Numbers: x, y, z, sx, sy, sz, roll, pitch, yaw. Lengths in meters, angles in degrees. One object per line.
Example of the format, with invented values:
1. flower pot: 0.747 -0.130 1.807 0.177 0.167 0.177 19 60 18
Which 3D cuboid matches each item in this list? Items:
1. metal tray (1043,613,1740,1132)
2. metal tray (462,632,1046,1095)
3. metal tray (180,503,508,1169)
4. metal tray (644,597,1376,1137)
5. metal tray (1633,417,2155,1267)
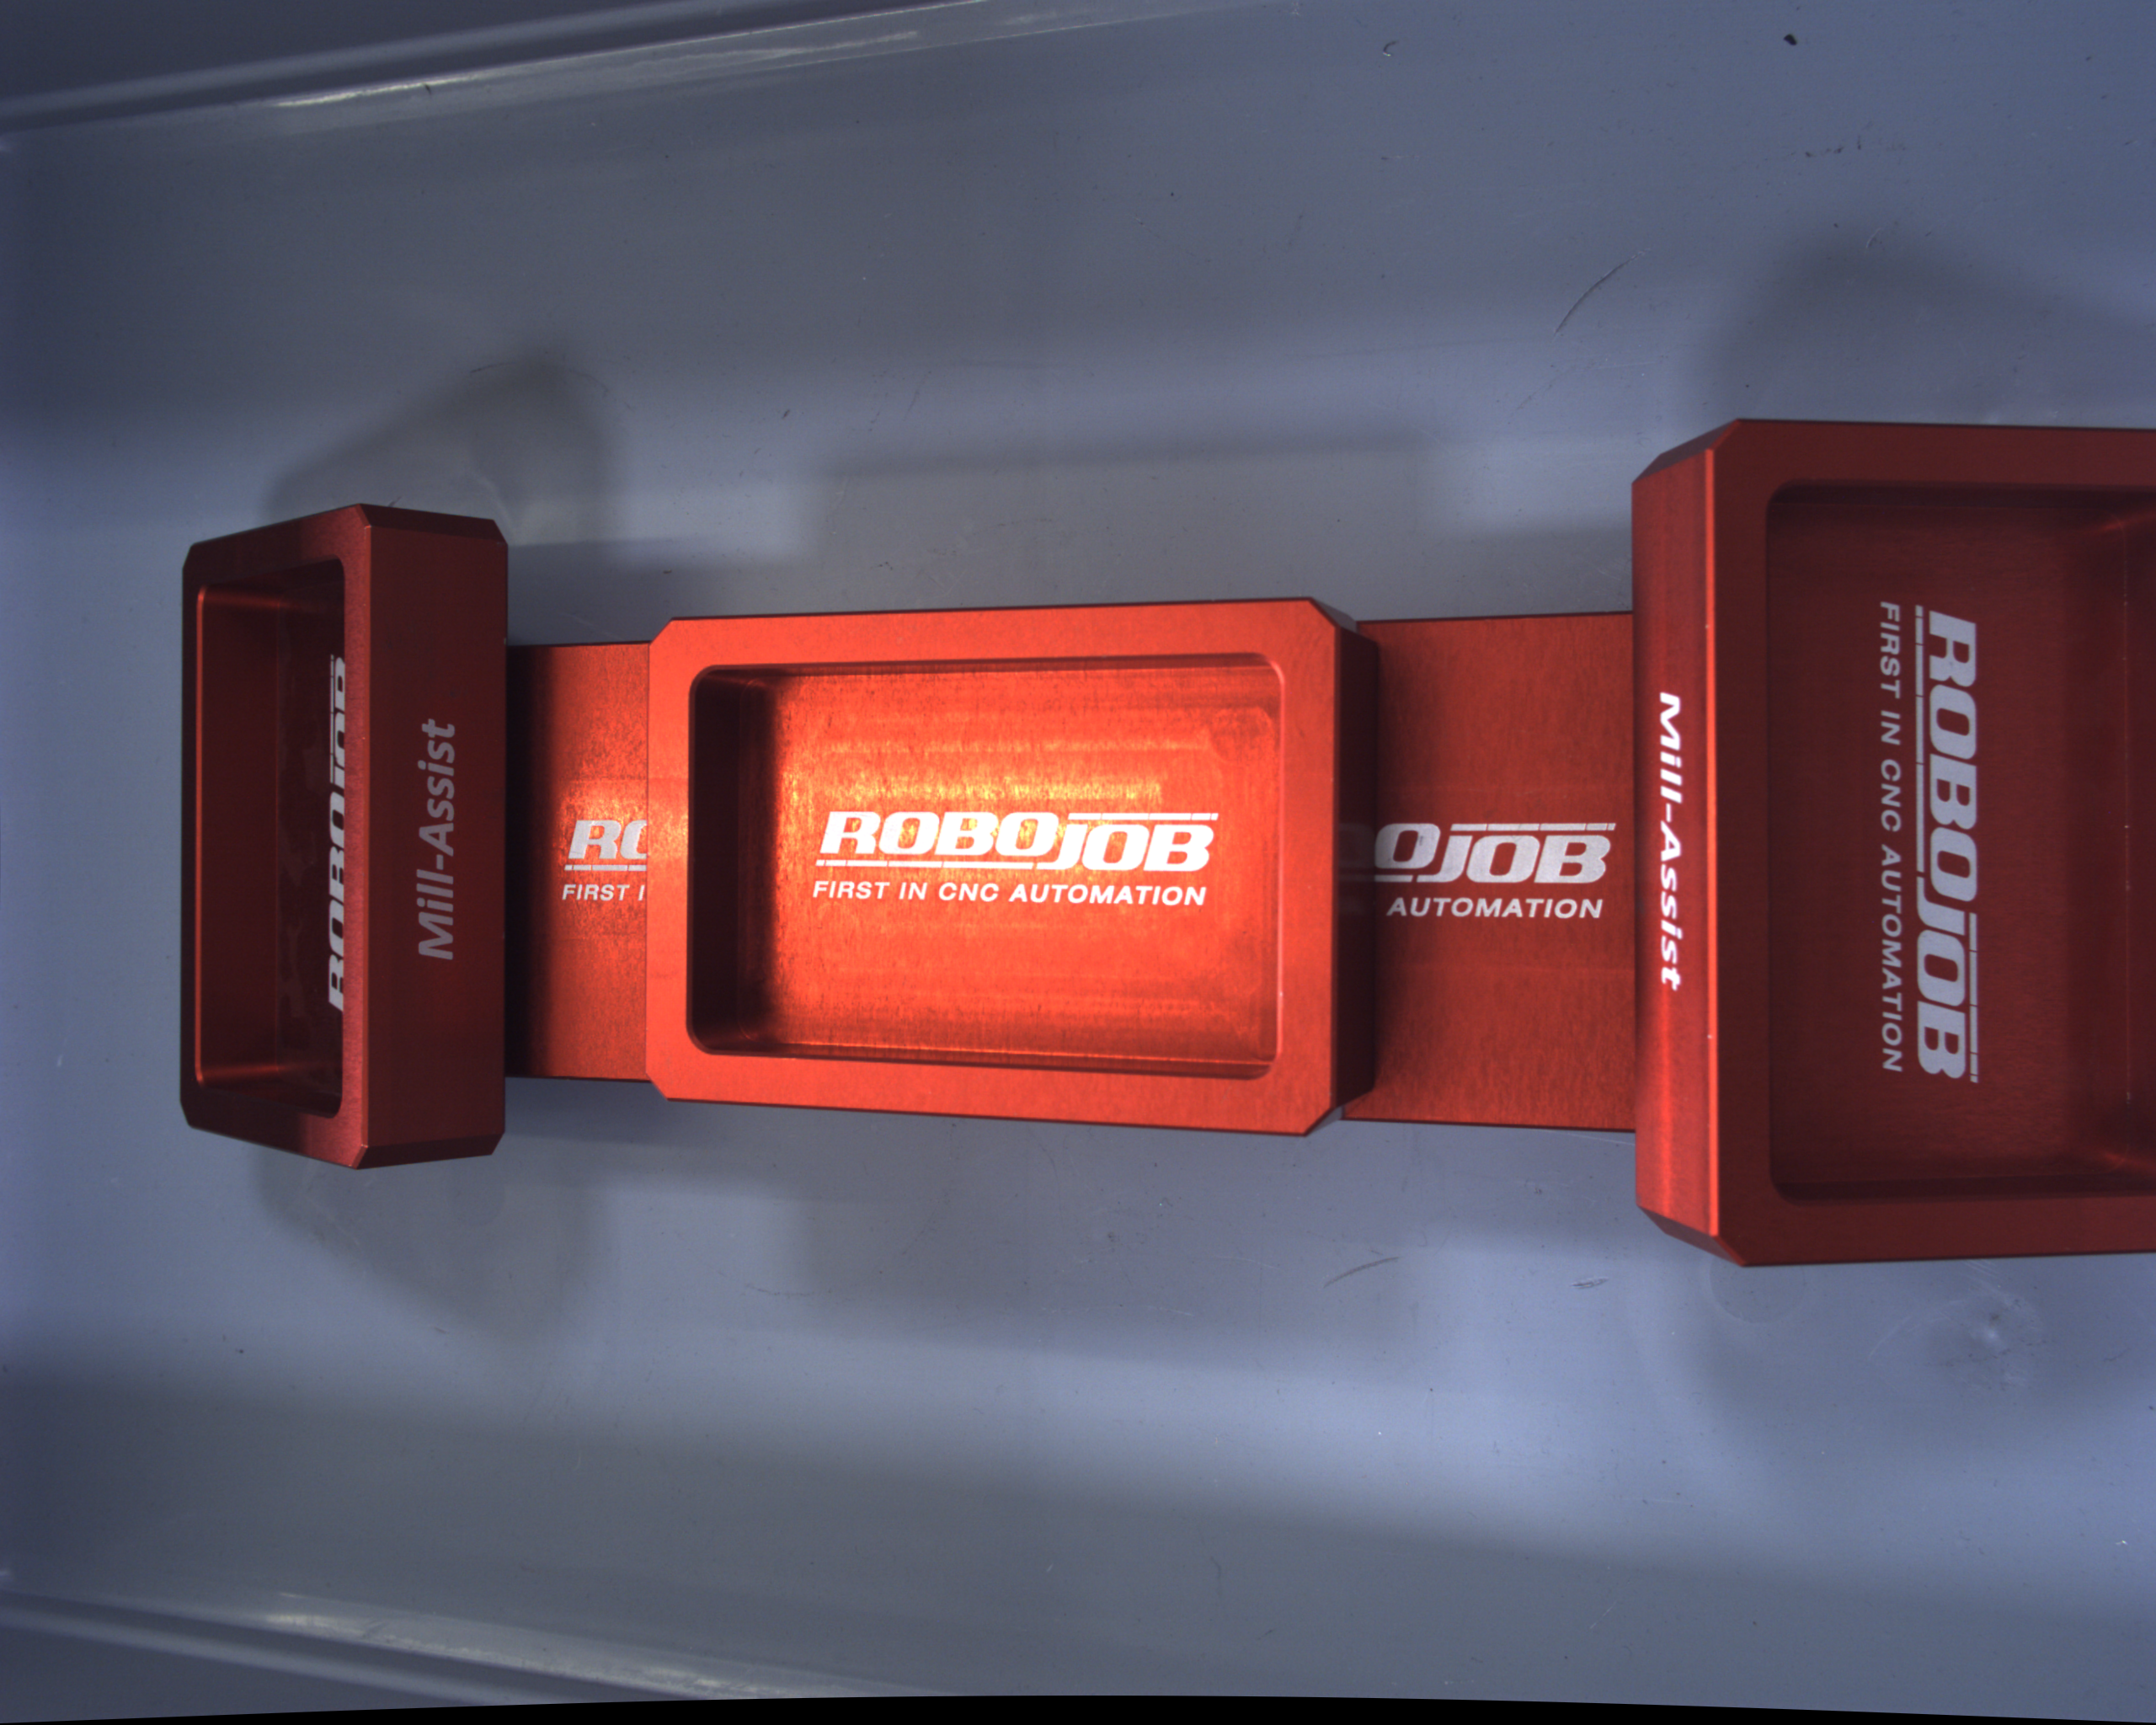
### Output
1. metal tray: 0.059 0.001 0.386 0.130 0.030 0.089 0 90 20
2. metal tray: -0.063 0.000 0.430 0.130 0.030 0.089 0 90 20
3. metal tray: -0.157 -0.006 0.443 0.090 0.030 0.129 1 90 45
4. metal tray: -0.014 0.000 0.379 0.130 0.030 0.089 1 90 20
5. metal tray: 0.138 -0.003 0.337 0.091 0.030 0.129 0 90 -9
